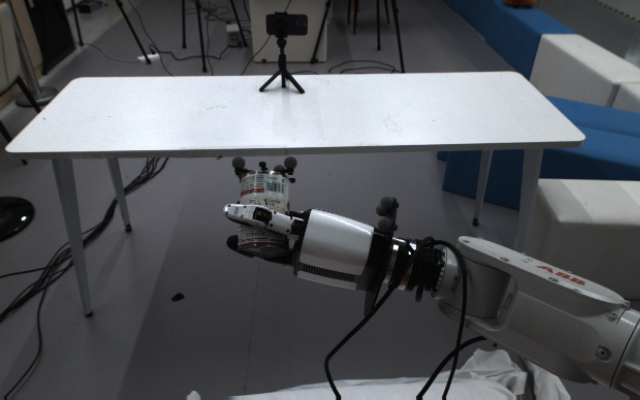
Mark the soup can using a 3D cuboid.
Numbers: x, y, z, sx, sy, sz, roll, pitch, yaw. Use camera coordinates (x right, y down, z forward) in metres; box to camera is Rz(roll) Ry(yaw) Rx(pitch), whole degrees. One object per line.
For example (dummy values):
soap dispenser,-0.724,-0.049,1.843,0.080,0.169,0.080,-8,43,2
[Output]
soup can,-0.072,0.020,0.636,0.067,0.067,0.101,1,73,-2
